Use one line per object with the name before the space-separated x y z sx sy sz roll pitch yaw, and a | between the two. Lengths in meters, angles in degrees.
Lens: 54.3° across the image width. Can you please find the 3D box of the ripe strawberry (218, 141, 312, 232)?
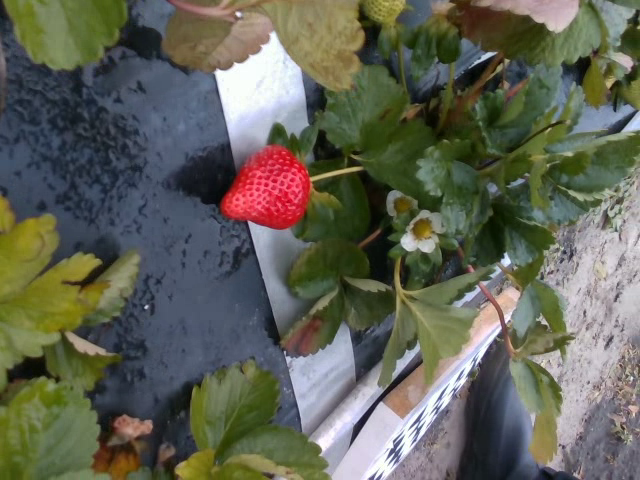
ripe strawberry | -0.025 -0.021 0.260 0.037 0.042 0.051 41 37 18
